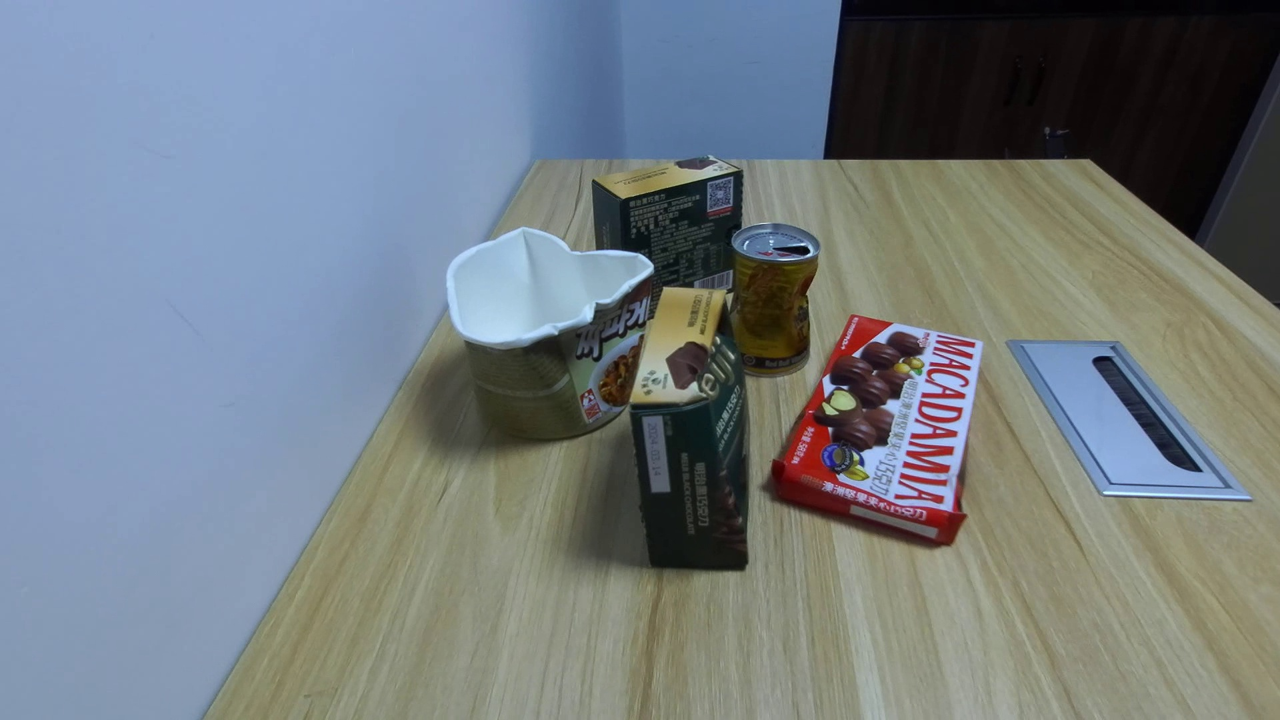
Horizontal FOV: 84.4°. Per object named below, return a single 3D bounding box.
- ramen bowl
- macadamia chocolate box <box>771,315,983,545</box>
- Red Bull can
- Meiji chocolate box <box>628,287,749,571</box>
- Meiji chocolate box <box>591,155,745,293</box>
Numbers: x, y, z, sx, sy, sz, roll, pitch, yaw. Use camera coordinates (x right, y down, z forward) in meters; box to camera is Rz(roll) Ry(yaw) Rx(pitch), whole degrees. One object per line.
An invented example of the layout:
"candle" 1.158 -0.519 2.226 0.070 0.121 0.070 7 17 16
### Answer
"ramen bowl" -0.066 -0.013 0.463 0.113 0.097 0.134 17 38 23
"macadamia chocolate box" 0.158 0.034 0.449 0.105 0.028 0.183 15 39 21
"Red Bull can" 0.092 -0.042 0.499 0.072 0.092 0.072 0 34 0
"Meiji chocolate box" 0.030 0.033 0.382 0.051 0.117 0.117 -3 34 12
"Meiji chocolate box" 0.023 -0.100 0.572 0.113 0.111 0.058 -19 37 -23
